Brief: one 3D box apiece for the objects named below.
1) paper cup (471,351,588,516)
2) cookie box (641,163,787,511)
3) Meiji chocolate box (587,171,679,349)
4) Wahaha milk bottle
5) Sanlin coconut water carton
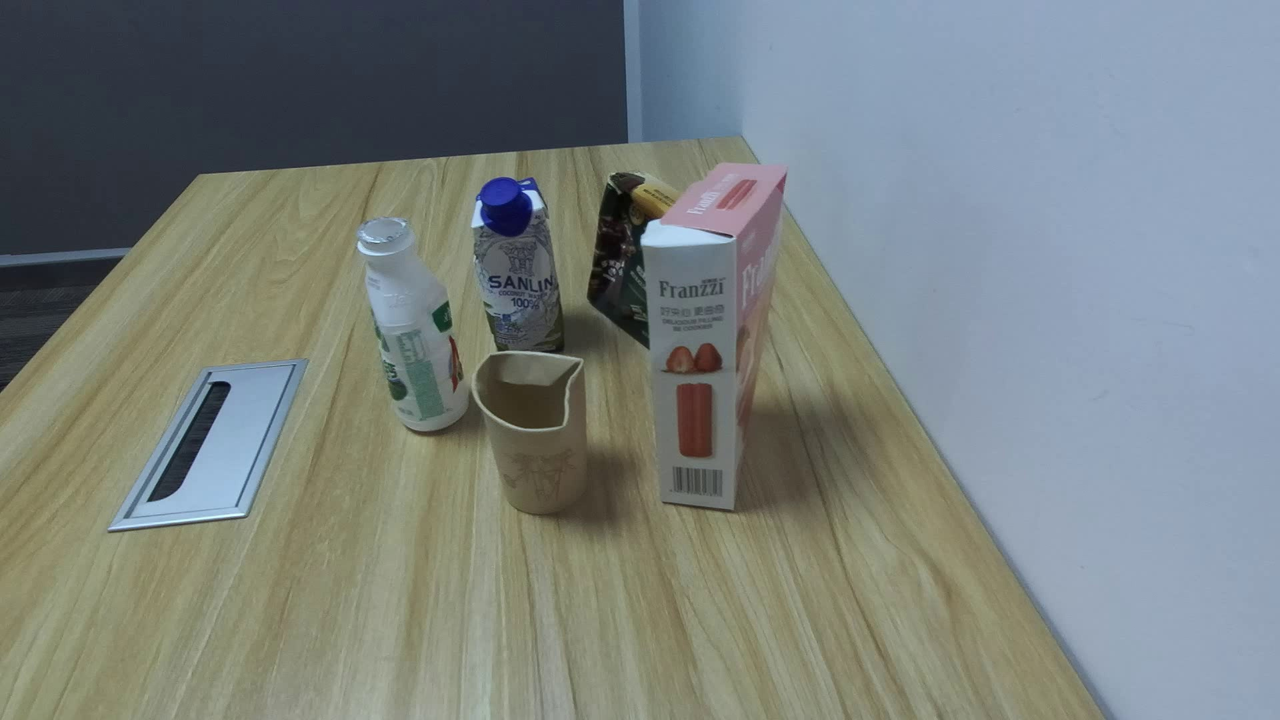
[{"bbox_3d":[-0.065,0.047,0.428,0.066,0.084,0.071,4,38,7],"label":"paper cup"},{"bbox_3d":[0.042,-0.011,0.415,0.055,0.184,0.118,11,39,15],"label":"cookie box"},{"bbox_3d":[0.015,-0.075,0.542,0.058,0.110,0.112,-17,36,-42],"label":"Meiji chocolate box"},{"bbox_3d":[-0.149,-0.020,0.466,0.055,0.149,0.055,0,38,0],"label":"Wahaha milk bottle"},{"bbox_3d":[-0.094,-0.074,0.533,0.061,0.144,0.069,-7,39,-4],"label":"Sanlin coconut water carton"}]
